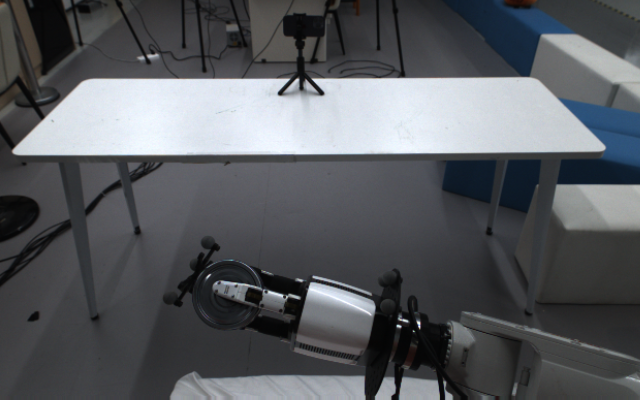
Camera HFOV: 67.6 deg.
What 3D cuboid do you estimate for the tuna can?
[{"bbox_3d":[-0.107,0.120,0.590,0.085,0.034,0.085,1,76,-5],"label":"tuna can"}]
